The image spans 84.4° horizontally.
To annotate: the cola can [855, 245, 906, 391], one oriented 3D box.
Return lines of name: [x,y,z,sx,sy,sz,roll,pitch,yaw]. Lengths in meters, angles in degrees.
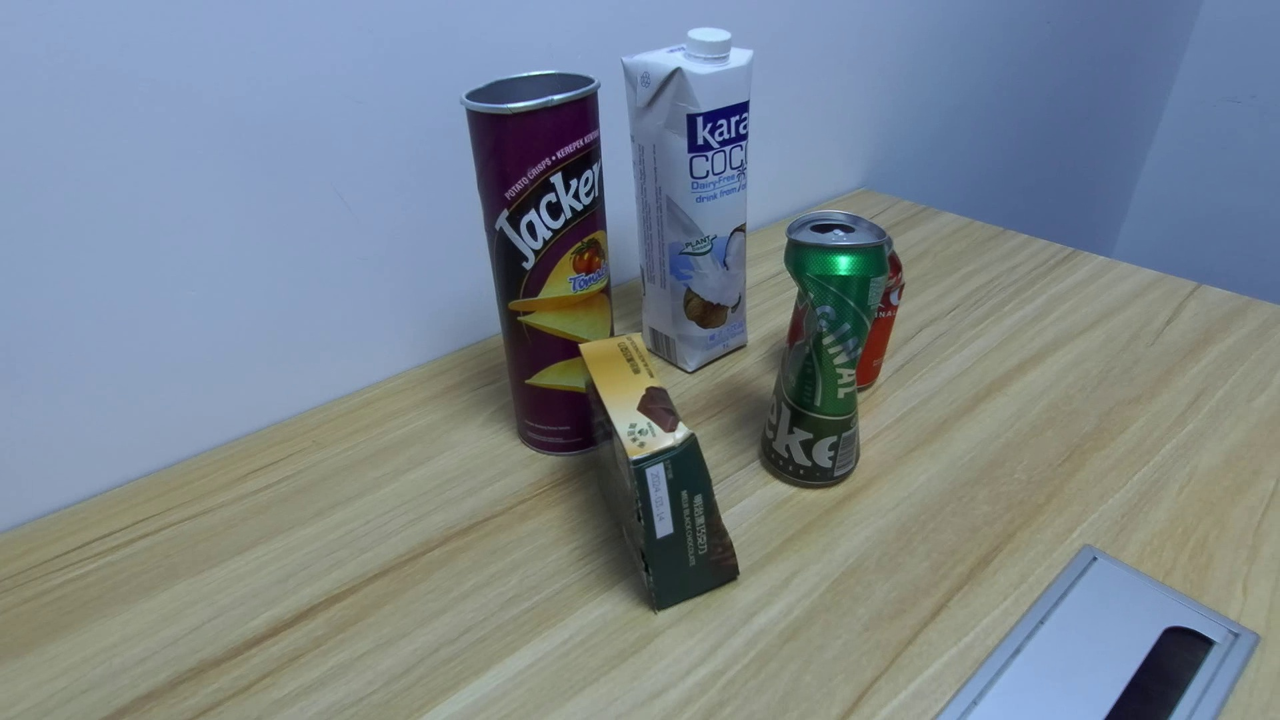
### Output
cola can: [0.153,-0.038,0.527,0.072,0.117,0.065,-3,34,0]

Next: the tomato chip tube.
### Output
tomato chip tube: [-0.054,-0.053,0.456,0.080,0.234,0.076,-15,34,-18]

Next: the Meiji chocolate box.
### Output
Meiji chocolate box: [0.011,0.056,0.393,0.058,0.111,0.113,-15,35,-10]

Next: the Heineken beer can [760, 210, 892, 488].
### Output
Heineken beer can: [0.111,-0.001,0.431,0.065,0.164,0.078,23,37,35]

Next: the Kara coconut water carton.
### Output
Kara coconut water carton: [0.039,-0.114,0.530,0.077,0.245,0.075,-24,36,-29]
